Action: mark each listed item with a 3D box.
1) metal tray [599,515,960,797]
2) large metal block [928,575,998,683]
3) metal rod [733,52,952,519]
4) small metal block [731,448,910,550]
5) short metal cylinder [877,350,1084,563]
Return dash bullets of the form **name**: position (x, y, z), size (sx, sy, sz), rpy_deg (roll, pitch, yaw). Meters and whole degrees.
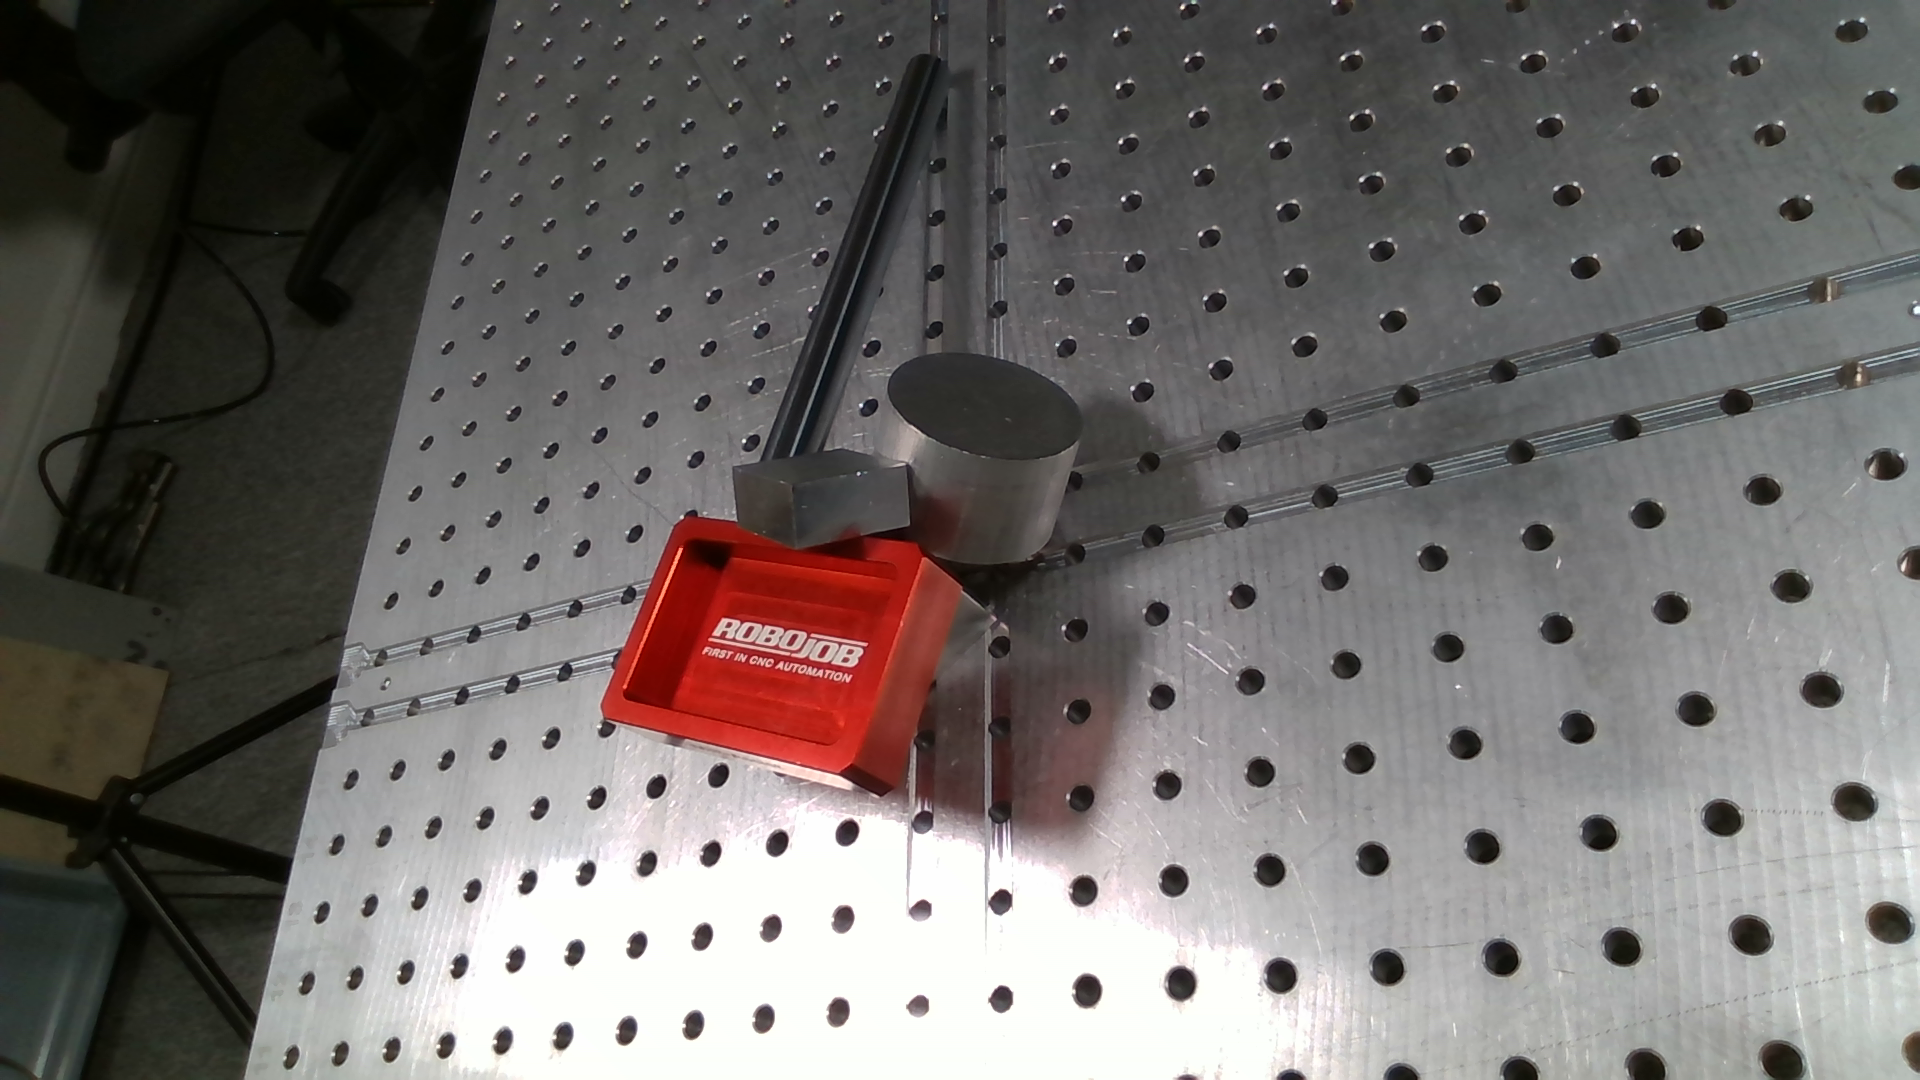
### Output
- **metal tray**: position (-0.072, 0.042, 0.539), size (0.130, 0.030, 0.090), rpy_deg (7, 69, 34)
- **large metal block**: position (-0.045, 0.026, 0.585), size (0.080, 0.050, 0.080), rpy_deg (-44, 51, 4)
- **metal rod**: position (-0.049, -0.128, 0.648), size (0.025, 0.025, 0.299), rpy_deg (-6, 51, 29)
- **small metal block**: position (-0.055, -0.017, 0.538), size (0.050, 0.050, 0.025), rpy_deg (17, 115, 54)
- **short metal cylinder**: position (0.005, -0.035, 0.560), size (0.080, 0.080, 0.050), rpy_deg (50, 138, 39)
